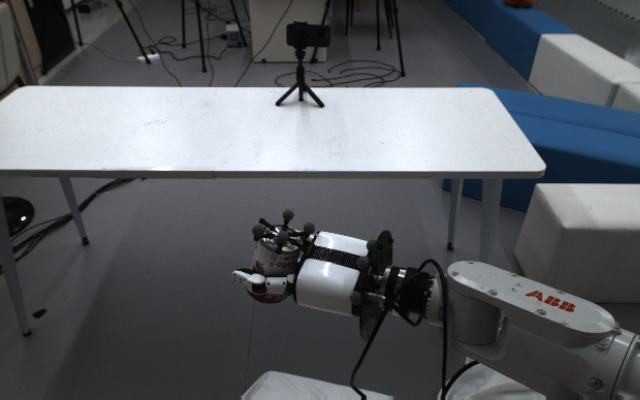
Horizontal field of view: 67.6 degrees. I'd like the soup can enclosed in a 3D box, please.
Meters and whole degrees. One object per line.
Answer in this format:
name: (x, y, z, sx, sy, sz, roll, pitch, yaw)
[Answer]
soup can: (-0.069, 0.097, 0.726, 0.067, 0.101, 0.067, 13, 31, -8)
